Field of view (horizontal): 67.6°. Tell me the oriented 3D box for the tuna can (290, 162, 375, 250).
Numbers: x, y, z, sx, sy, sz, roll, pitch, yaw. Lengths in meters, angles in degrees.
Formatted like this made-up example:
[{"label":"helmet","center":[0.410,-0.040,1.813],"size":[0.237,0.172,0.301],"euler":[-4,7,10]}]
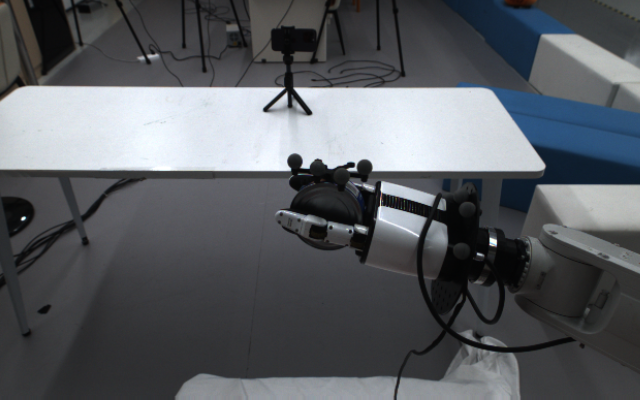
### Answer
[{"label":"tuna can","center":[0.011,0.013,0.568],"size":[0.085,0.085,0.034],"euler":[9,23,10]}]
